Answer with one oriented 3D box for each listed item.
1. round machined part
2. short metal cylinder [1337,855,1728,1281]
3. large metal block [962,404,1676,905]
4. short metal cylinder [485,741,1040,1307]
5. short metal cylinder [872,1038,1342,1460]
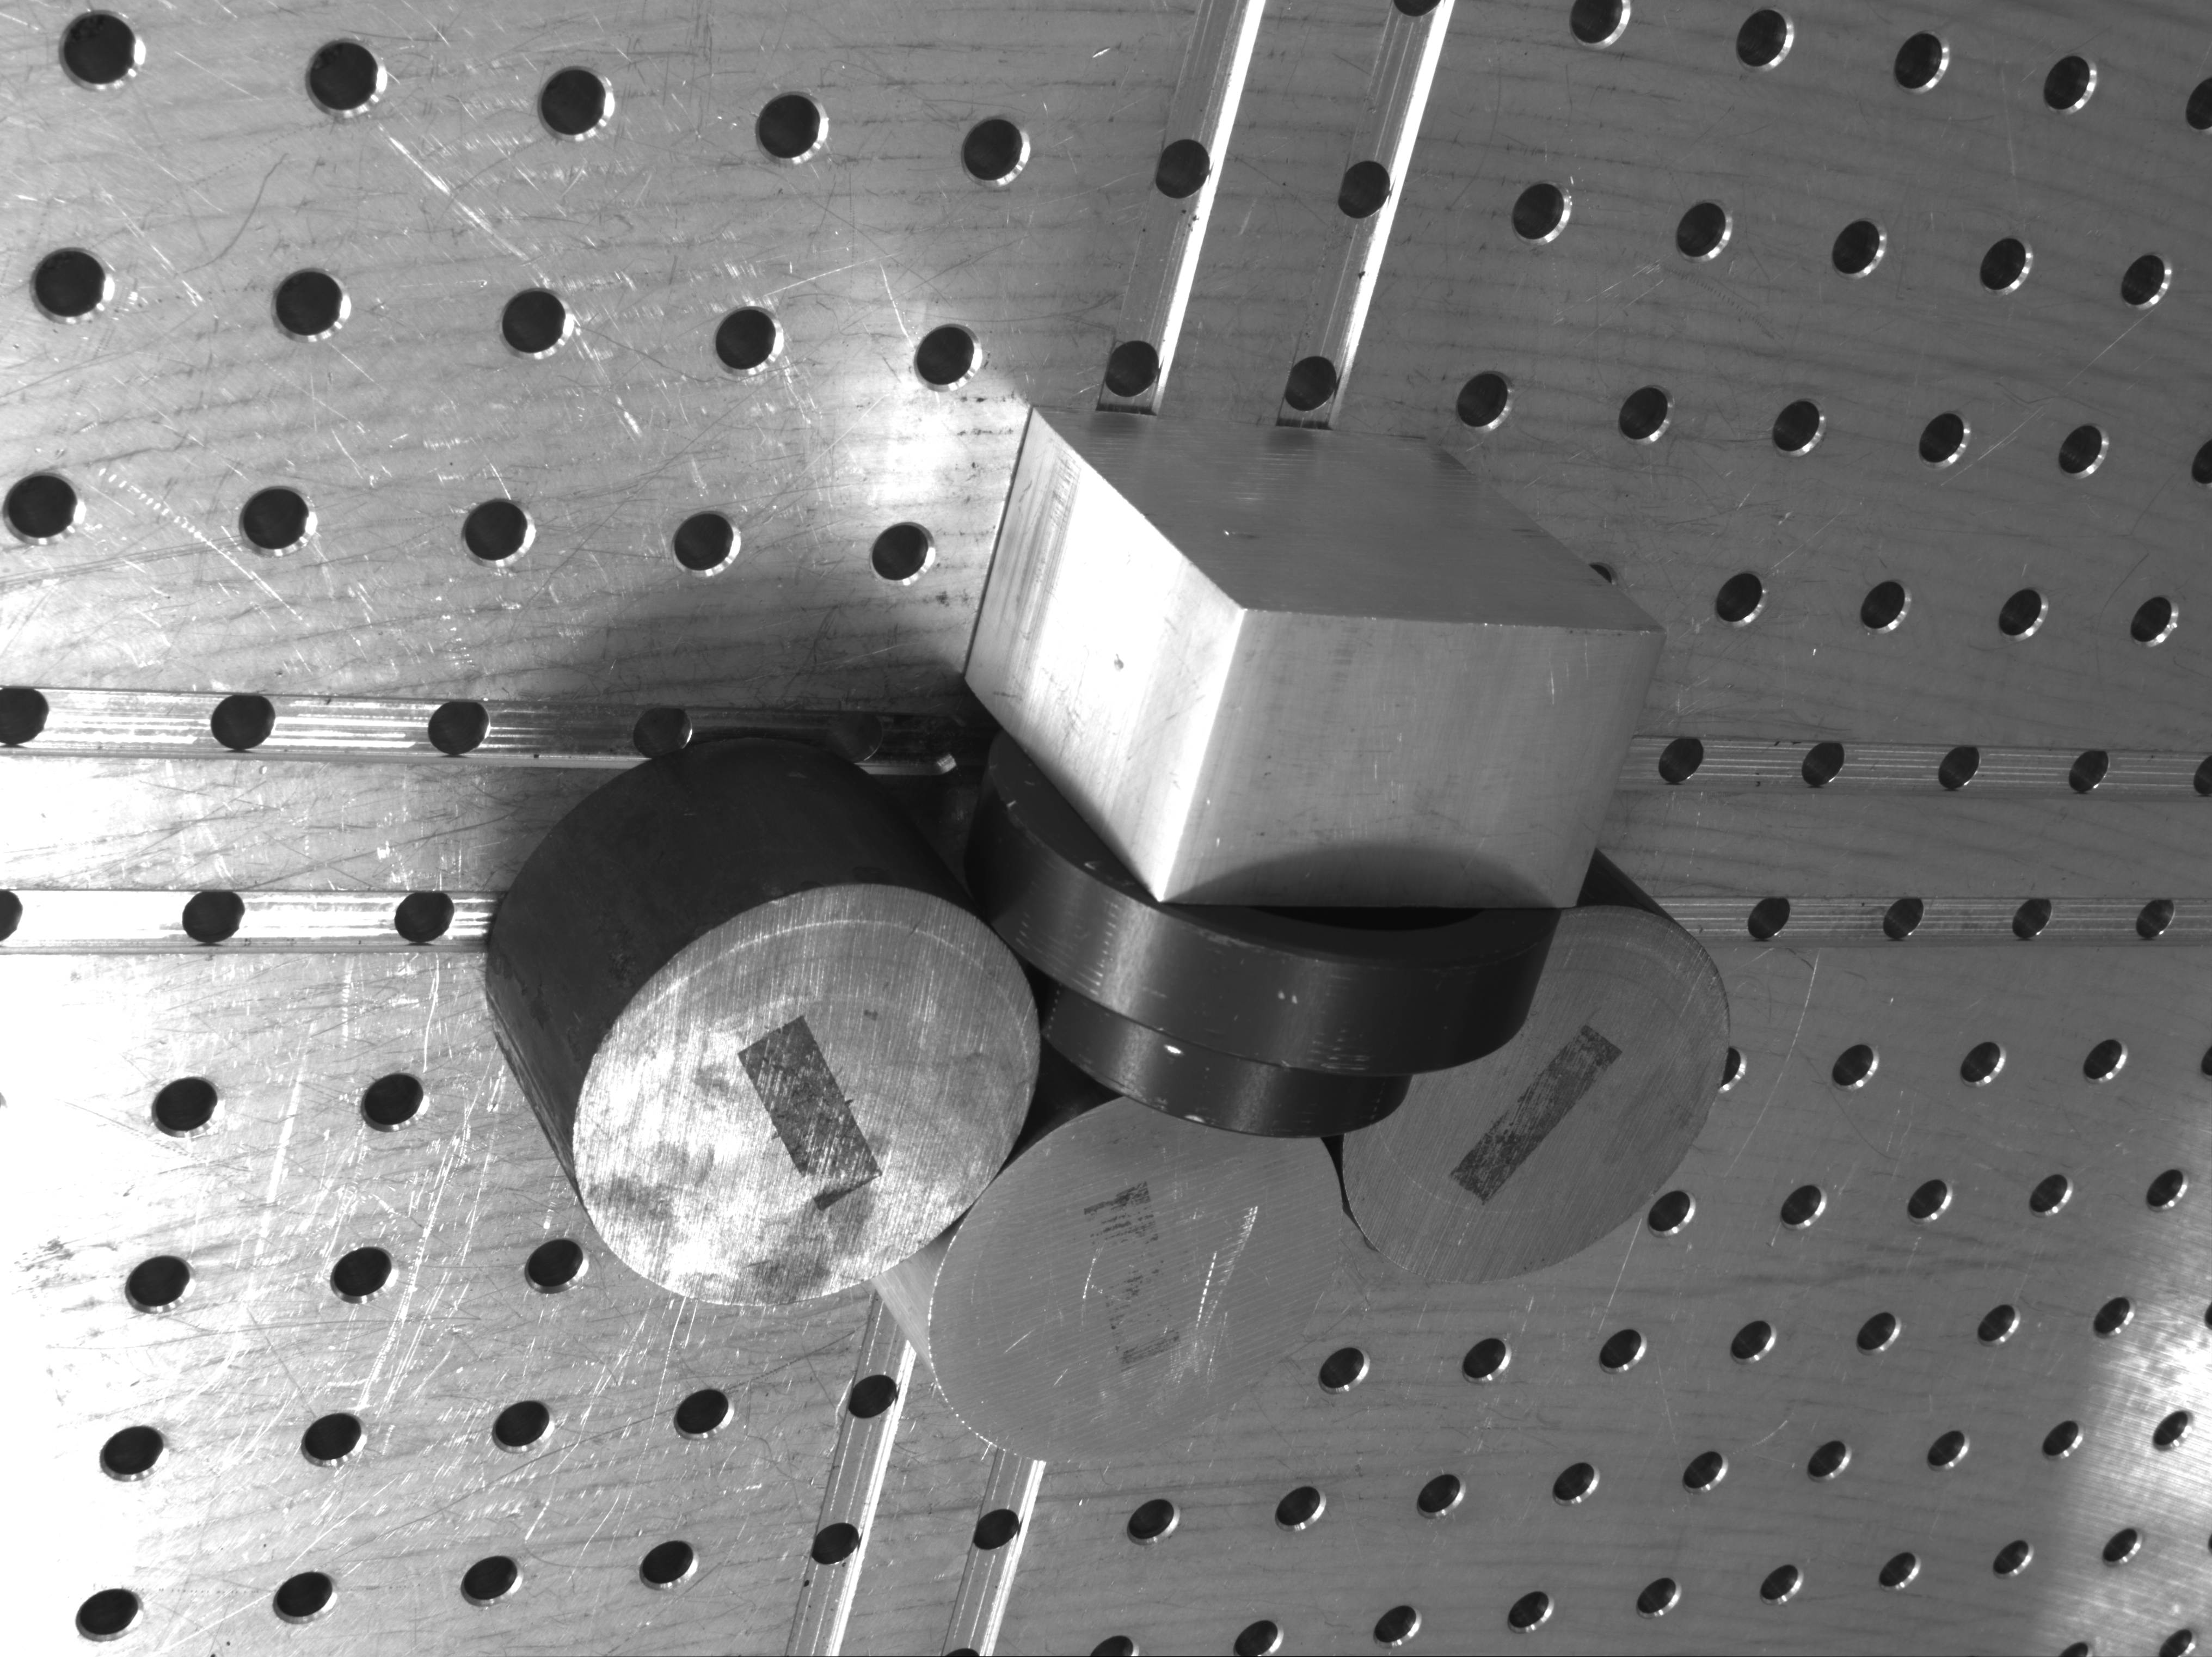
[{"bbox_3d":[0.024,0.018,0.615,0.098,0.098,0.042,2,117,-29],"label":"round machined part"},{"bbox_3d":[0.068,0.037,0.684,0.080,0.050,0.080,-13,124,-21],"label":"short metal cylinder"},{"bbox_3d":[0.033,-0.029,0.605,0.080,0.080,0.050,1,118,-28],"label":"large metal block"},{"bbox_3d":[-0.058,0.032,0.614,0.080,0.050,0.080,-13,124,-21],"label":"short metal cylinder"},{"bbox_3d":[-0.004,0.066,0.663,0.080,0.050,0.080,-13,124,-21],"label":"short metal cylinder"}]
